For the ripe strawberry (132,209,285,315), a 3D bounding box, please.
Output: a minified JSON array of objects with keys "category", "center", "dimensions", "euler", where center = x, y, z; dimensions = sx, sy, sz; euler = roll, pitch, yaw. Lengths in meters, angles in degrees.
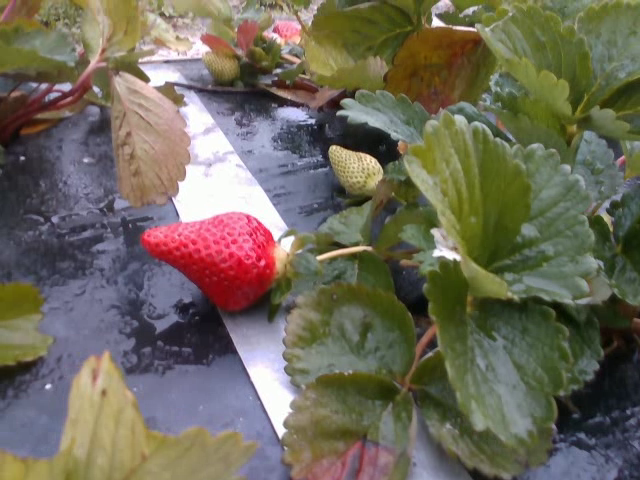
[{"category":"ripe strawberry","center":[-0.039,0.005,0.222],"dimensions":[0.051,0.042,0.038],"euler":[11,-31,-20]}]
